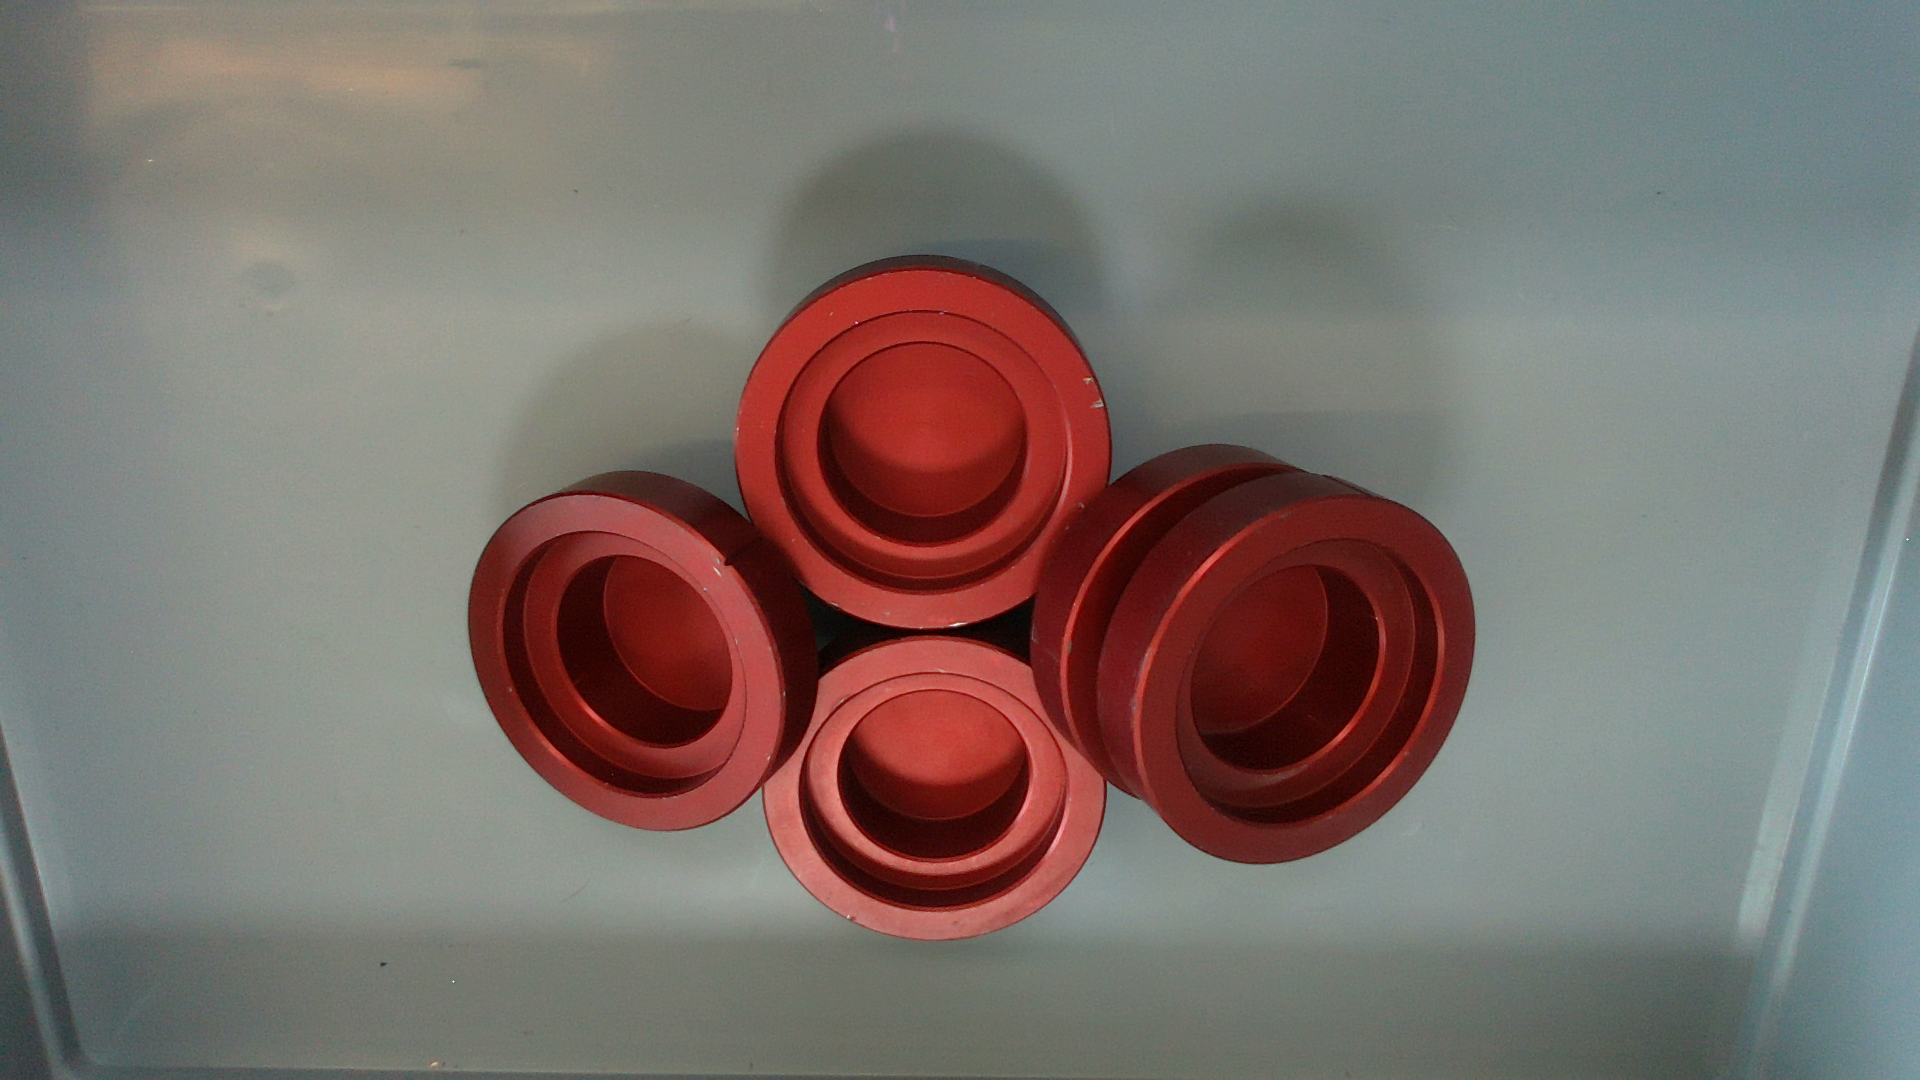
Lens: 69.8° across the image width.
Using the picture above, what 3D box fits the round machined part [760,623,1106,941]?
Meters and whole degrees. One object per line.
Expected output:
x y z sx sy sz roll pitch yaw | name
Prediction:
-0.007 0.065 0.407 0.098 0.042 0.098 0 110 0 | round machined part

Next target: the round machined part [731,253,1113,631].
-0.010 -0.028 0.372 0.098 0.042 0.098 0 110 0 | round machined part

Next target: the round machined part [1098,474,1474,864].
0.079 0.030 0.354 0.098 0.042 0.098 -8 112 -21 | round machined part

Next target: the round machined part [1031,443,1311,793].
0.064 0.020 0.380 0.098 0.042 0.098 -8 111 -21 | round machined part

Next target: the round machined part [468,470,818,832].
-0.083 0.027 0.382 0.098 0.042 0.098 7 111 19 | round machined part
